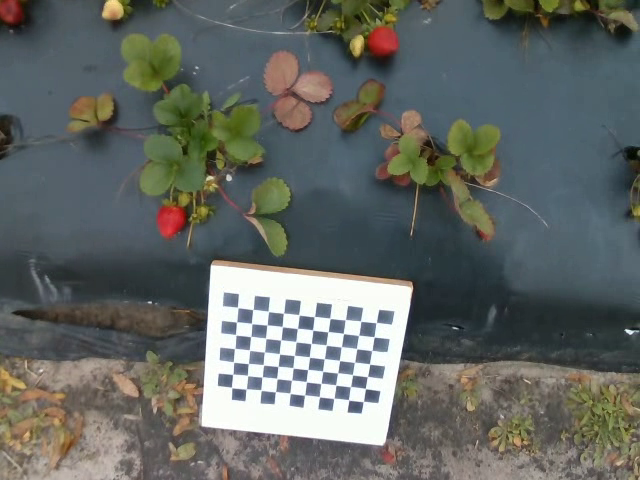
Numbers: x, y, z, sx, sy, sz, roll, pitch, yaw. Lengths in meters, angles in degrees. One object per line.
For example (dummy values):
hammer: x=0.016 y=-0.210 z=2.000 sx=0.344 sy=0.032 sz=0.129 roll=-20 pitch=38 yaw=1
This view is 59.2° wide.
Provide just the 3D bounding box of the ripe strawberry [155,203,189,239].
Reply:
ripe strawberry: x=-0.065 y=-0.010 z=0.231 sx=0.018 sy=0.017 sz=0.014 roll=8 pitch=-25 yaw=-8
